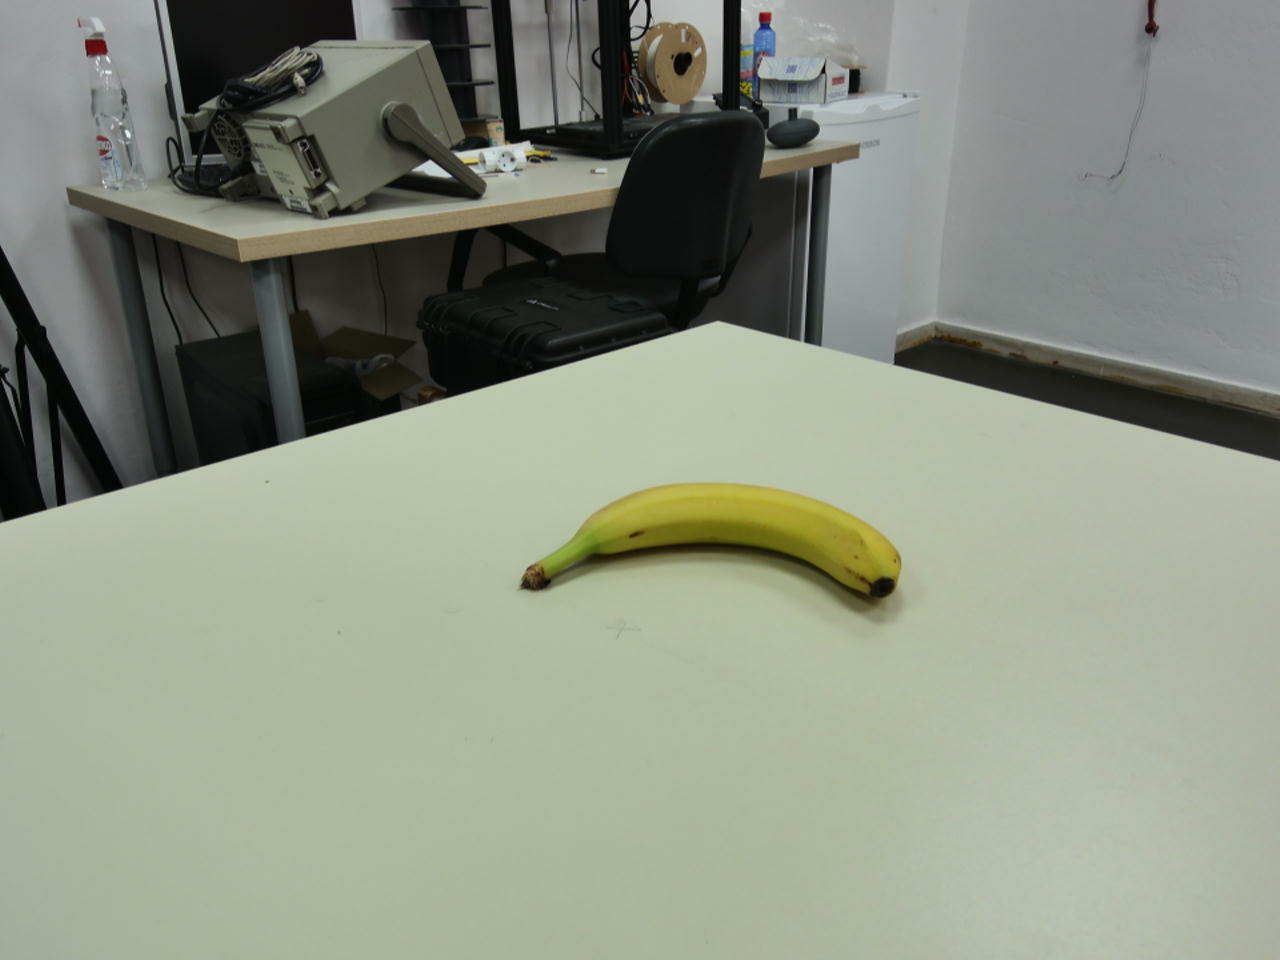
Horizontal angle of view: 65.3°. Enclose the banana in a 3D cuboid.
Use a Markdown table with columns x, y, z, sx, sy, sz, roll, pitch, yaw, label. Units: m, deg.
| x | y | z | sx | sy | sz | roll | pitch | yaw | label |
| --- | --- | --- | --- | --- | --- | --- | --- | --- | --- |
| 0.041 | 0.031 | 0.553 | 0.196 | 0.041 | 0.094 | 5 | 24 | 12 | banana |
